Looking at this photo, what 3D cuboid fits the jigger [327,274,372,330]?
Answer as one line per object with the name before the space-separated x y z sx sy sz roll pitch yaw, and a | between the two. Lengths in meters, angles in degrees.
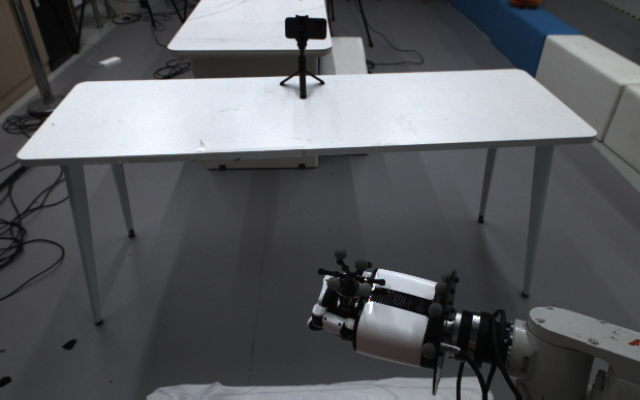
jigger | 0.038 0.146 0.657 0.043 0.071 0.043 6 26 -3
